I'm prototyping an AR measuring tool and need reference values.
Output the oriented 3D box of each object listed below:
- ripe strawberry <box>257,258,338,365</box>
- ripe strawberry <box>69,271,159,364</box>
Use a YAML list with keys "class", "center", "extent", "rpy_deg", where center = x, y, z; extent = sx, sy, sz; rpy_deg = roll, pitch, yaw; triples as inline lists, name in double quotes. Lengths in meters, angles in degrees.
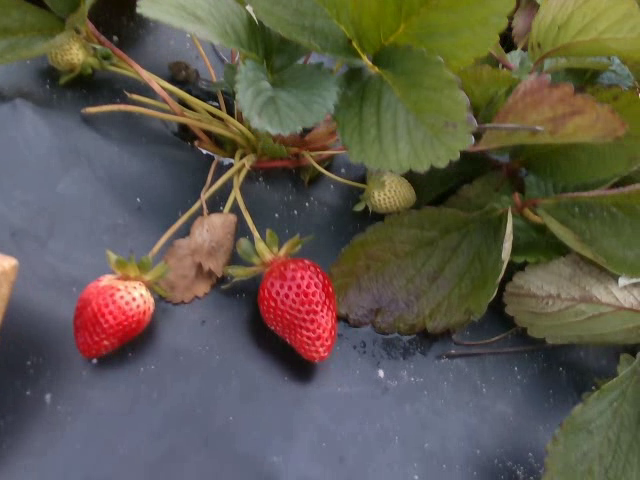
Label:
- class: "ripe strawberry"
  center: [-0.009, 0.030, 0.252]
  extent: [0.044, 0.059, 0.041]
  rpy_deg: [-27, -16, 11]
- class: "ripe strawberry"
  center: [-0.087, 0.031, 0.237]
  extent: [0.036, 0.041, 0.028]
  rpy_deg: [19, -13, 6]
